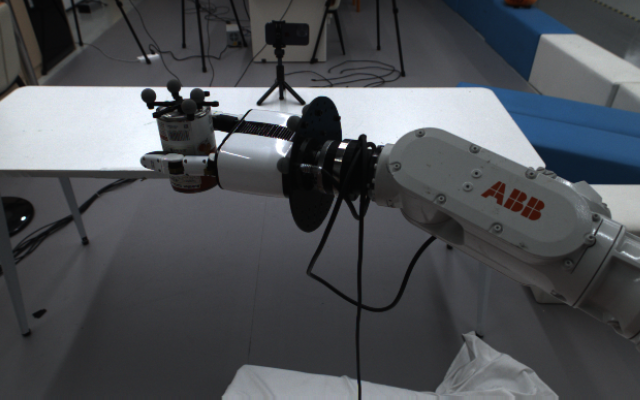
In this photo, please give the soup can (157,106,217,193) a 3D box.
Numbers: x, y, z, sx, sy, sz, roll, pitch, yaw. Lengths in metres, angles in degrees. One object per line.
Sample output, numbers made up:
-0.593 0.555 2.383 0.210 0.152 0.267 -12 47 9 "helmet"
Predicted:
-0.165 -0.068 0.615 0.067 0.101 0.067 -1 32 1 "soup can"
